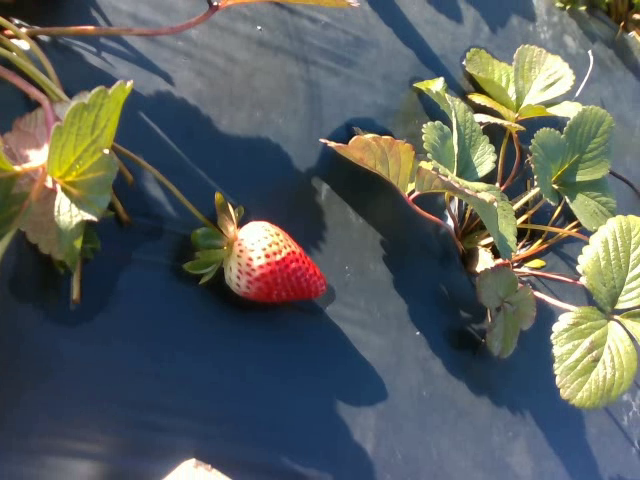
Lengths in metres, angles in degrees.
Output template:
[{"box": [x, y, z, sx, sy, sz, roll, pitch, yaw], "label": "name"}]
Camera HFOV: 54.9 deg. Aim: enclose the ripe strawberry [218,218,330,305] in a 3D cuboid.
[{"box": [-0.017, 0.013, 0.281, 0.064, 0.045, 0.044, 23, 22, -14], "label": "ripe strawberry"}]
